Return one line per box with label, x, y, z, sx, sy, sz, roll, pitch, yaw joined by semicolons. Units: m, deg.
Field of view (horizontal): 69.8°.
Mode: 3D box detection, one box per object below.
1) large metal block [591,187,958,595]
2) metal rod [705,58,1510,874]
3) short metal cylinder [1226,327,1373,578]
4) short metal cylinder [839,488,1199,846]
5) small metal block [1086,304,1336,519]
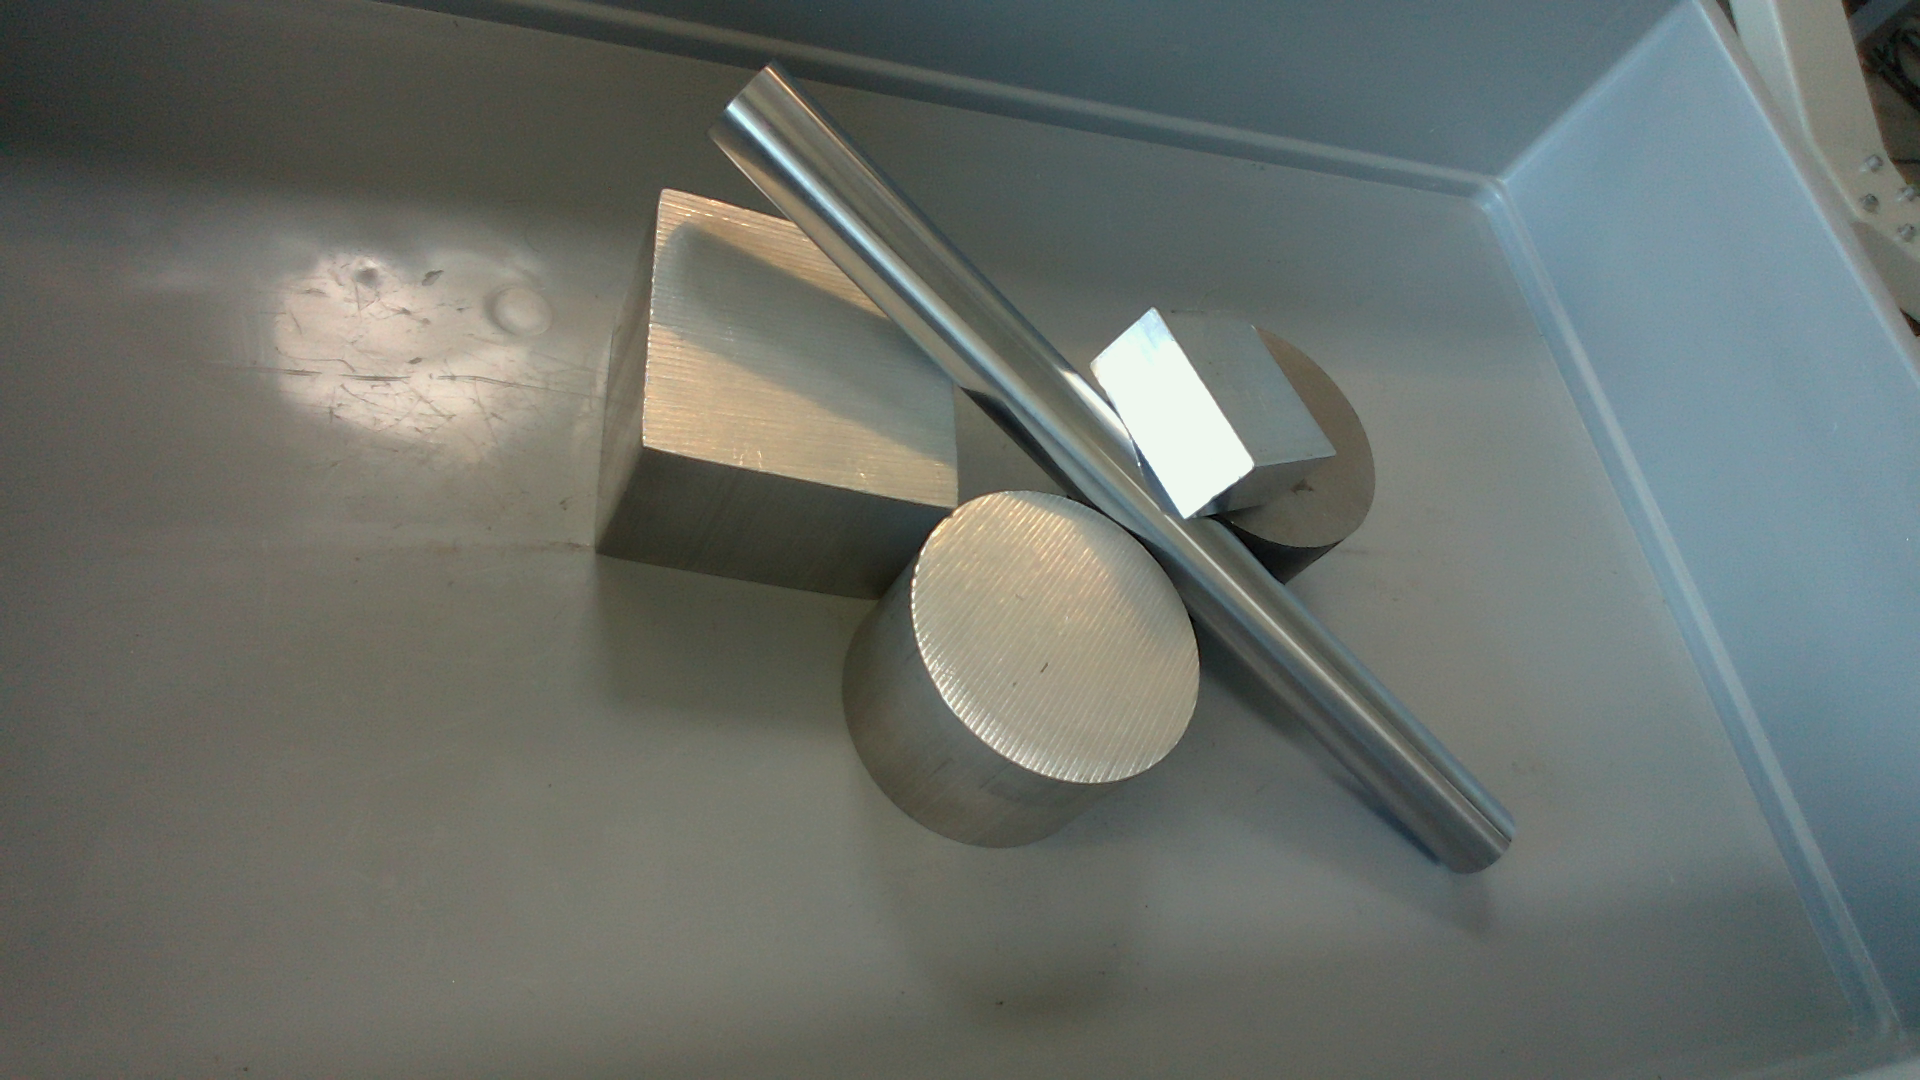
large metal block;-0.049;-0.037;0.366;0.080;0.050;0.080;11;57;-23
metal rod;0.051;-0.008;0.376;0.300;0.025;0.025;44;49;-16
short metal cylinder;0.080;-0.022;0.428;0.080;0.050;0.080;14;56;-21
short metal cylinder;0.015;0.034;0.359;0.080;0.050;0.080;14;56;-21
small metal block;0.069;-0.036;0.374;0.050;0.025;0.050;-11;66;-52
